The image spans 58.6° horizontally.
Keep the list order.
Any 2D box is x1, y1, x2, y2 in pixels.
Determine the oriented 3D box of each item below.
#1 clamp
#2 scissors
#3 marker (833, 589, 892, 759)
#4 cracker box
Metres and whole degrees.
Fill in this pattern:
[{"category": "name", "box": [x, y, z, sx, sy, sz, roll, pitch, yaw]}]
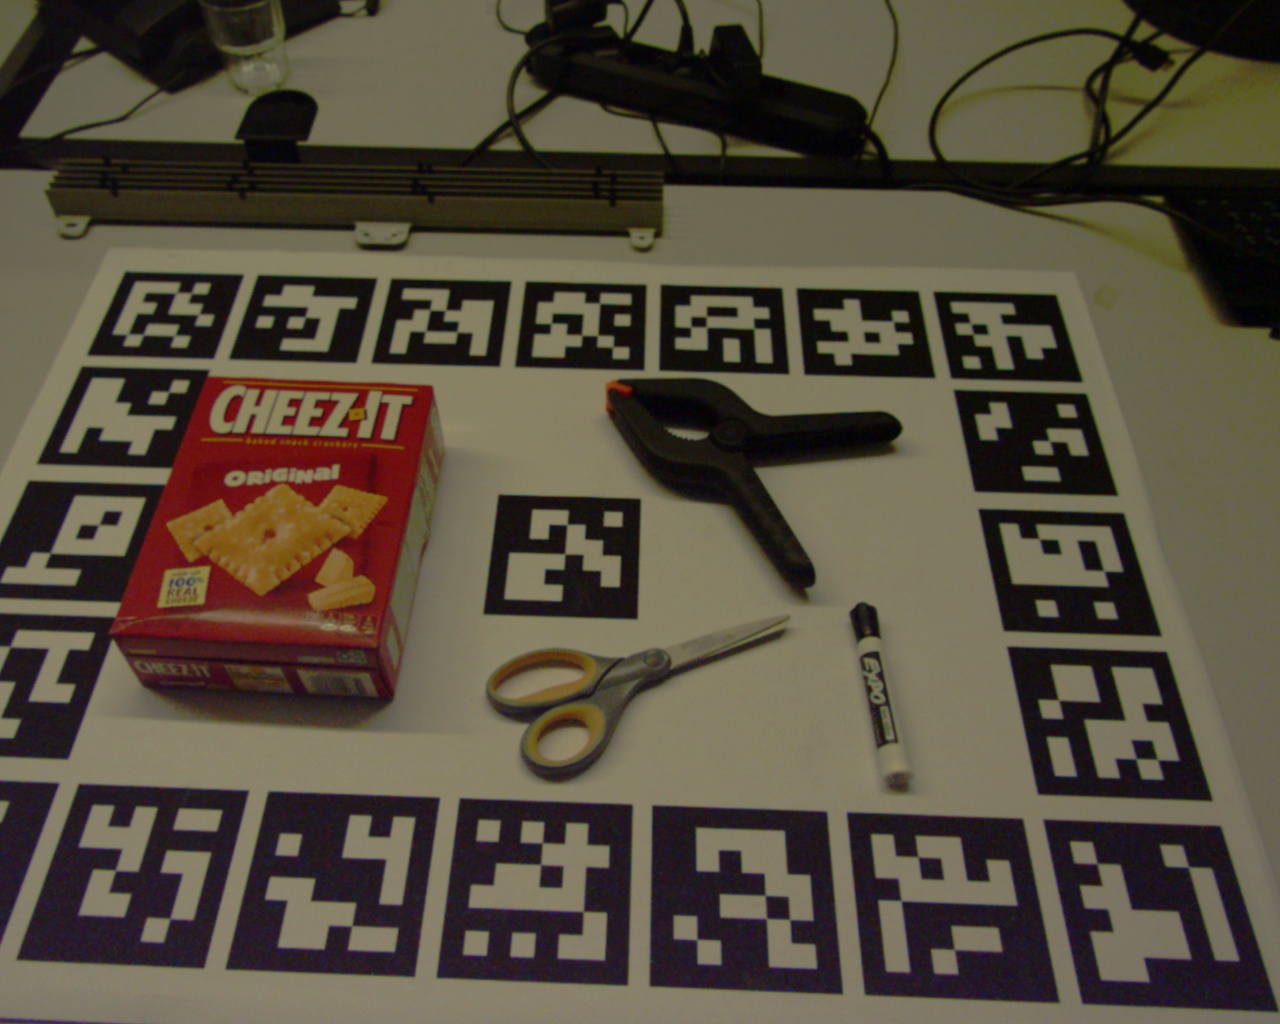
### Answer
[{"category": "clamp", "box": [0.052, -0.048, 0.868, 0.204, 0.036, 0.164, 26, 55, 18]}, {"category": "scissors", "box": [0.001, 0.096, 0.748, 0.201, 0.016, 0.088, -22, 53, -19]}, {"category": "marker", "box": [0.143, 0.102, 0.741, 0.019, 0.019, 0.121, -2, 51, -2]}, {"category": "cracker box", "box": [-0.231, 0.013, 0.783, 0.164, 0.072, 0.214, 2, 52, 1]}]
